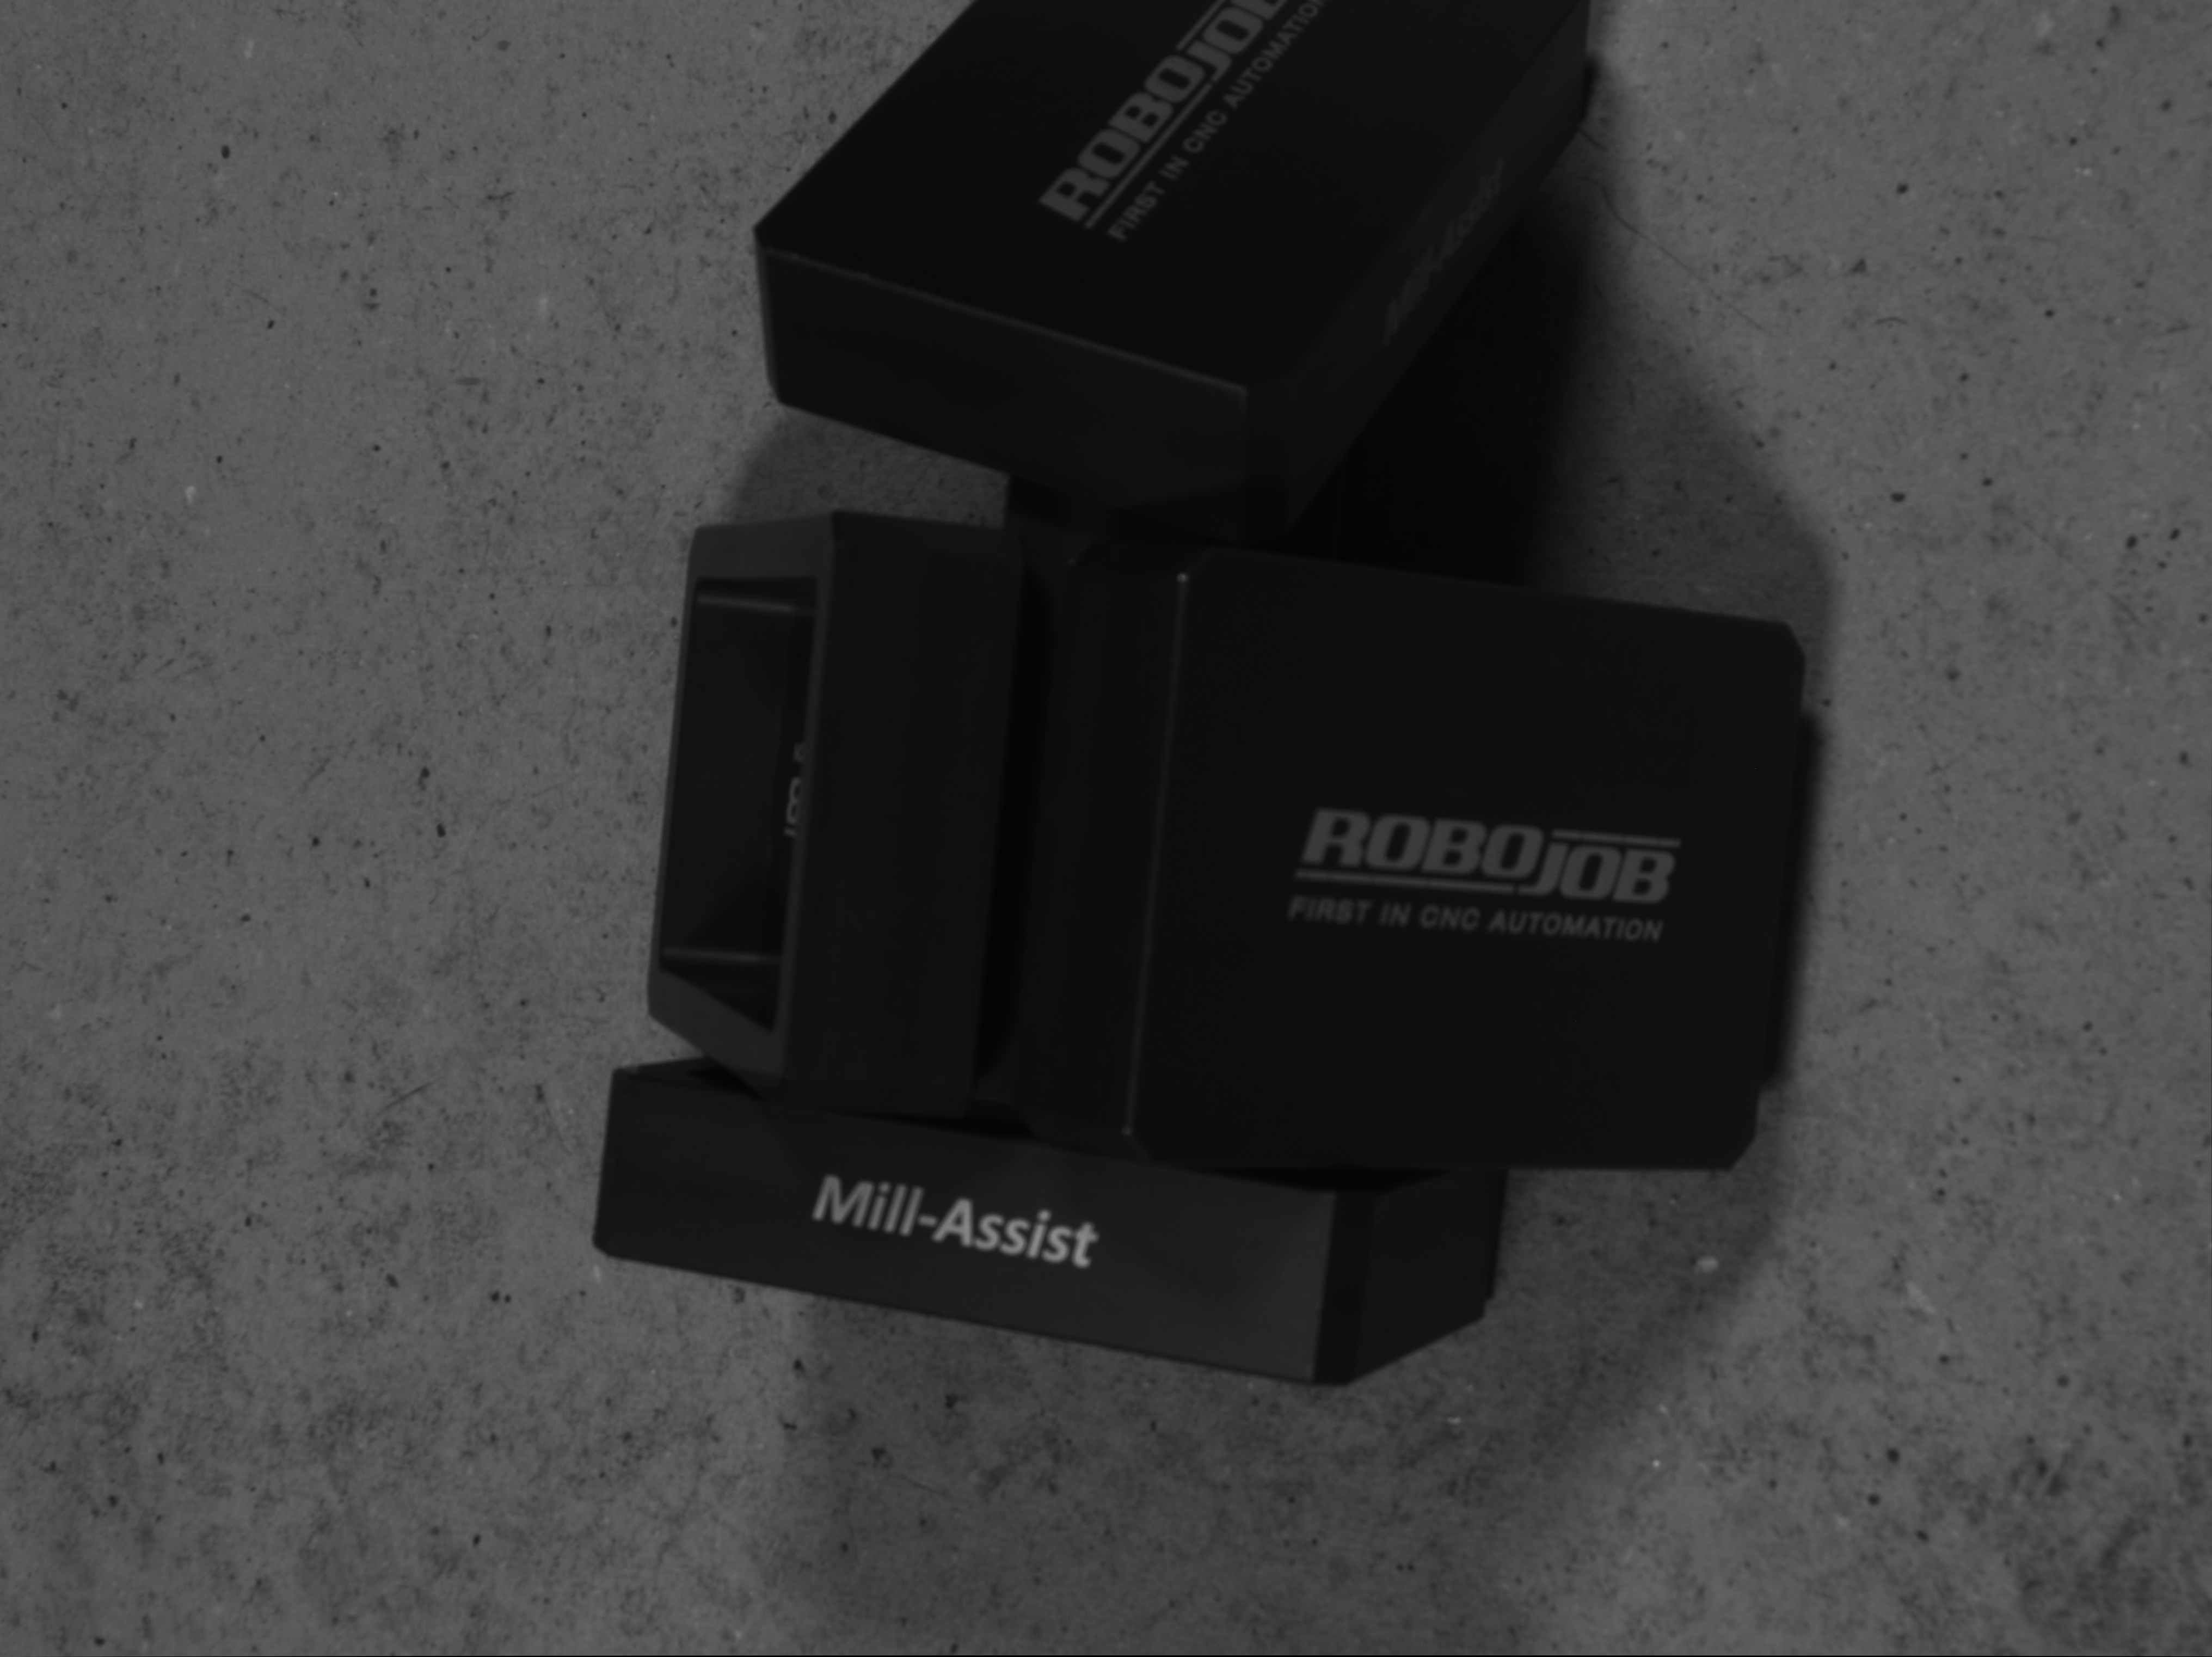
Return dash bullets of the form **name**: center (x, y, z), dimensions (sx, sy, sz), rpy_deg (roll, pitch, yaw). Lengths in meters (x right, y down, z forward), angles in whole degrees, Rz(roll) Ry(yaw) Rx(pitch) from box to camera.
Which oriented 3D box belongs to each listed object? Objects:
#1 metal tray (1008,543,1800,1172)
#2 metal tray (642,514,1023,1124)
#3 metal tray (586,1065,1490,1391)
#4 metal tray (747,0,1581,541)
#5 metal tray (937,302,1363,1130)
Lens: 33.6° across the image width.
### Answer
- **metal tray**: center (0.050, 0.007, 0.574), dimensions (0.030, 0.130, 0.090), rpy_deg (9, 94, 53)
- **metal tray**: center (-0.049, -0.005, 0.610), dimensions (0.030, 0.130, 0.090), rpy_deg (5, 92, -16)
- **metal tray**: center (-0.009, 0.063, 0.612), dimensions (0.130, 0.090, 0.030), rpy_deg (8, 92, 20)
- **metal tray**: center (0.012, -0.106, 0.591), dimensions (0.090, 0.130, 0.030), rpy_deg (19, 137, 19)
- **metal tray**: center (0.010, -0.017, 0.606), dimensions (0.030, 0.090, 0.130), rpy_deg (8, 92, 20)
